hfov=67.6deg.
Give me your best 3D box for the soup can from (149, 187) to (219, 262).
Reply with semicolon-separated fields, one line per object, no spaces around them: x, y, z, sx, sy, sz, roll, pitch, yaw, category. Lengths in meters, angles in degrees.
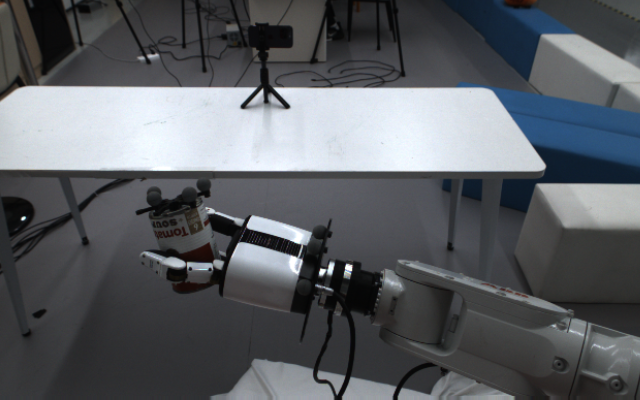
-0.161;0.055;0.596;0.067;0.101;0.067;-12;17;4;soup can
